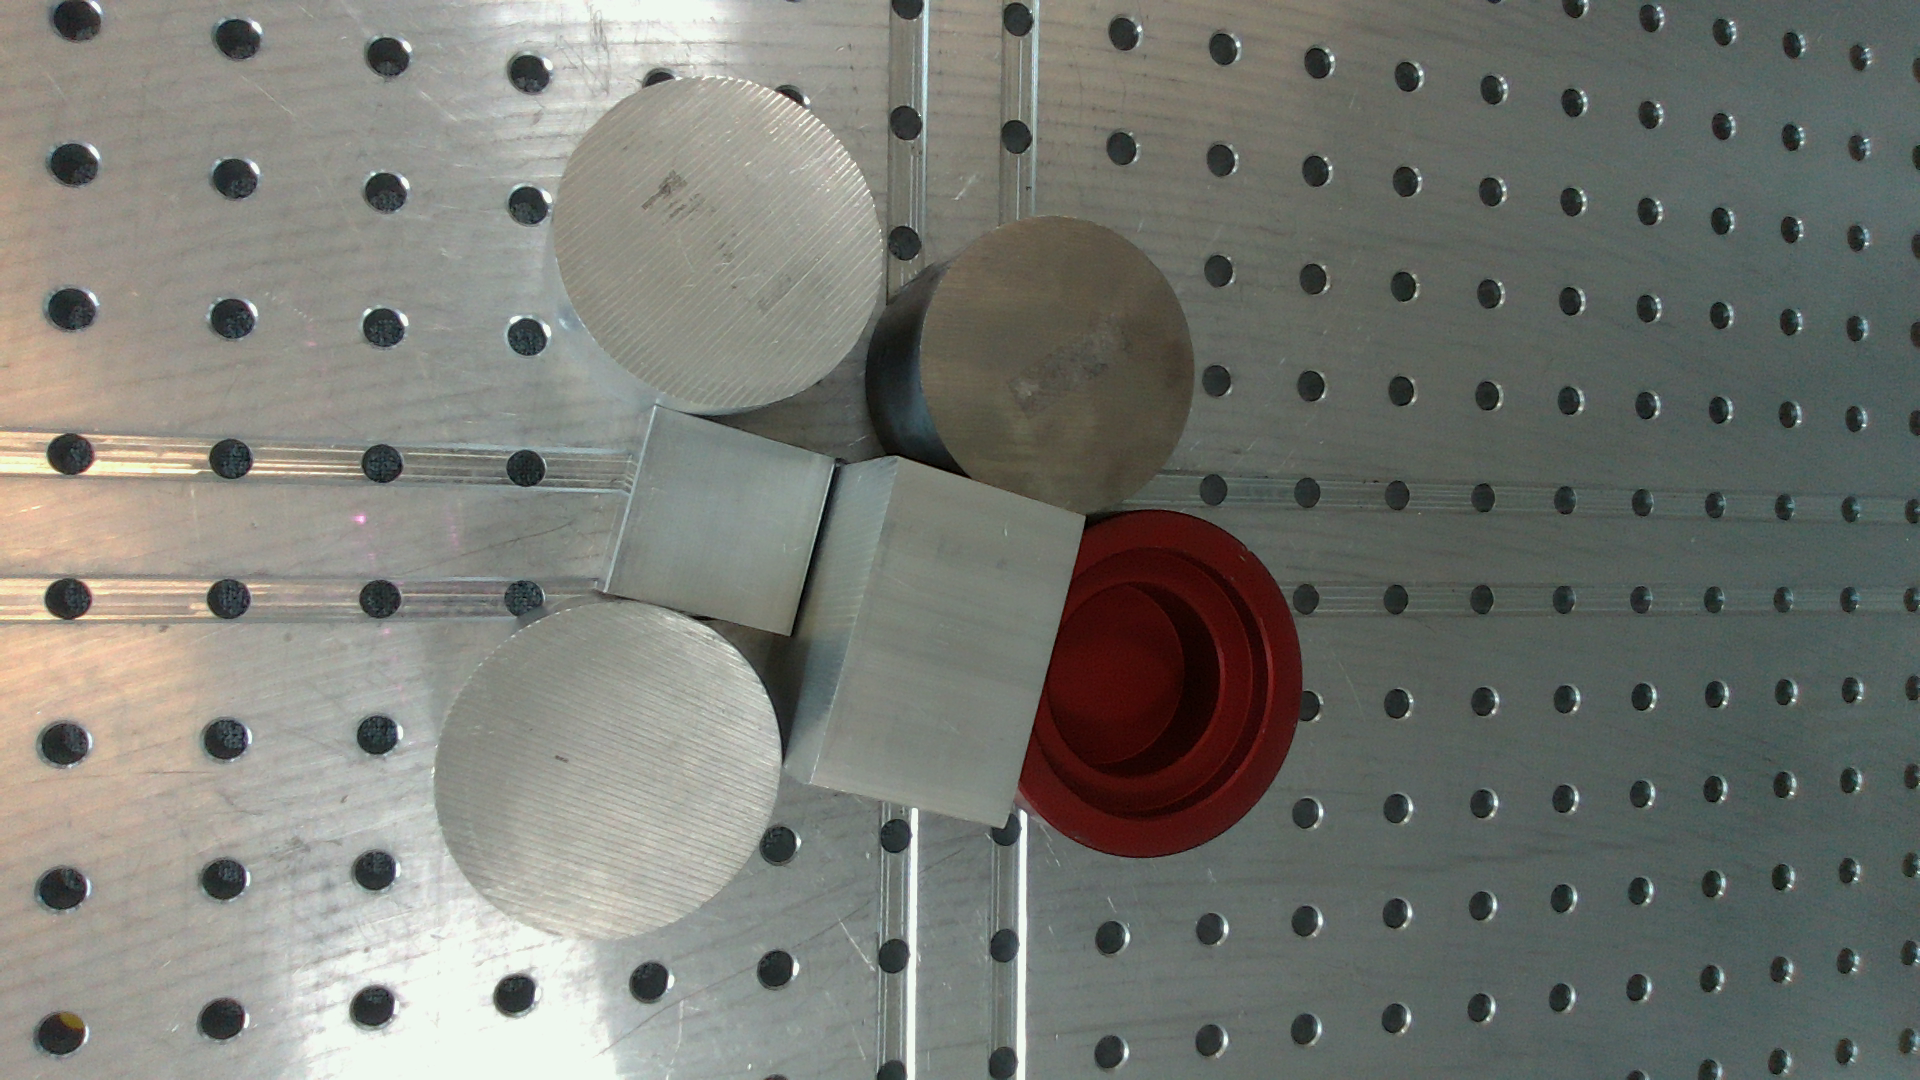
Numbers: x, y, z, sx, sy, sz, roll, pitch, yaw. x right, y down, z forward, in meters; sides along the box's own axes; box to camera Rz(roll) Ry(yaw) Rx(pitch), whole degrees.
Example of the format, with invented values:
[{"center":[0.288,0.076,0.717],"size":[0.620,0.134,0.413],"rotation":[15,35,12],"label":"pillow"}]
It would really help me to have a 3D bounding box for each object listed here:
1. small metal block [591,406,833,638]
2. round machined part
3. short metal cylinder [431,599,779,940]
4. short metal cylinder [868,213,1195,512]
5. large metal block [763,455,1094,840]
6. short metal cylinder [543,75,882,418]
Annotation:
[{"center":[-0.067,-0.005,0.371],"size":[0.050,0.025,0.050],"rotation":[16,85,-19],"label":"small metal block"},{"center":[0.047,0.040,0.404],"size":[0.098,0.042,0.098],"rotation":[0,90,-20],"label":"round machined part"},{"center":[-0.091,0.055,0.349],"size":[0.080,0.050,0.080],"rotation":[0,90,-20],"label":"short metal cylinder"},{"center":[0.019,-0.047,0.389],"size":[0.080,0.050,0.080],"rotation":[0,90,-20],"label":"short metal cylinder"},{"center":[-0.014,0.026,0.359],"size":[0.050,0.080,0.080],"rotation":[17,85,-19],"label":"large metal block"},{"center":[-0.066,-0.073,0.358],"size":[0.080,0.050,0.080],"rotation":[0,90,-20],"label":"short metal cylinder"}]
